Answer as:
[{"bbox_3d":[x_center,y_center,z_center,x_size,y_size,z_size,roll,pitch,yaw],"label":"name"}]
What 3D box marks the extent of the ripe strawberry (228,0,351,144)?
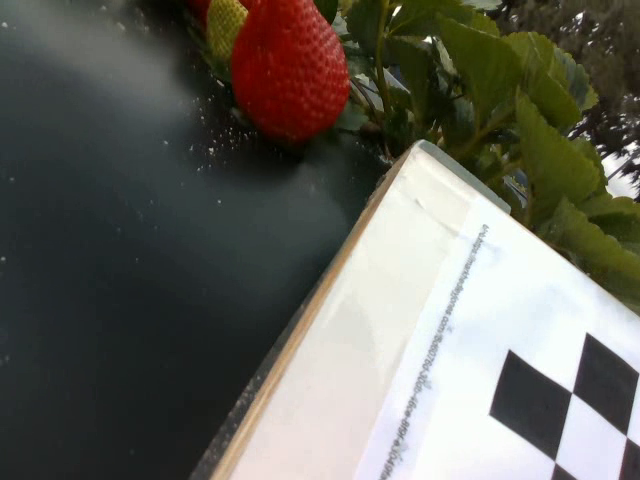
[{"bbox_3d":[-0.010,-0.072,0.217,0.057,0.056,0.065,-6,-19,-8],"label":"ripe strawberry"}]
